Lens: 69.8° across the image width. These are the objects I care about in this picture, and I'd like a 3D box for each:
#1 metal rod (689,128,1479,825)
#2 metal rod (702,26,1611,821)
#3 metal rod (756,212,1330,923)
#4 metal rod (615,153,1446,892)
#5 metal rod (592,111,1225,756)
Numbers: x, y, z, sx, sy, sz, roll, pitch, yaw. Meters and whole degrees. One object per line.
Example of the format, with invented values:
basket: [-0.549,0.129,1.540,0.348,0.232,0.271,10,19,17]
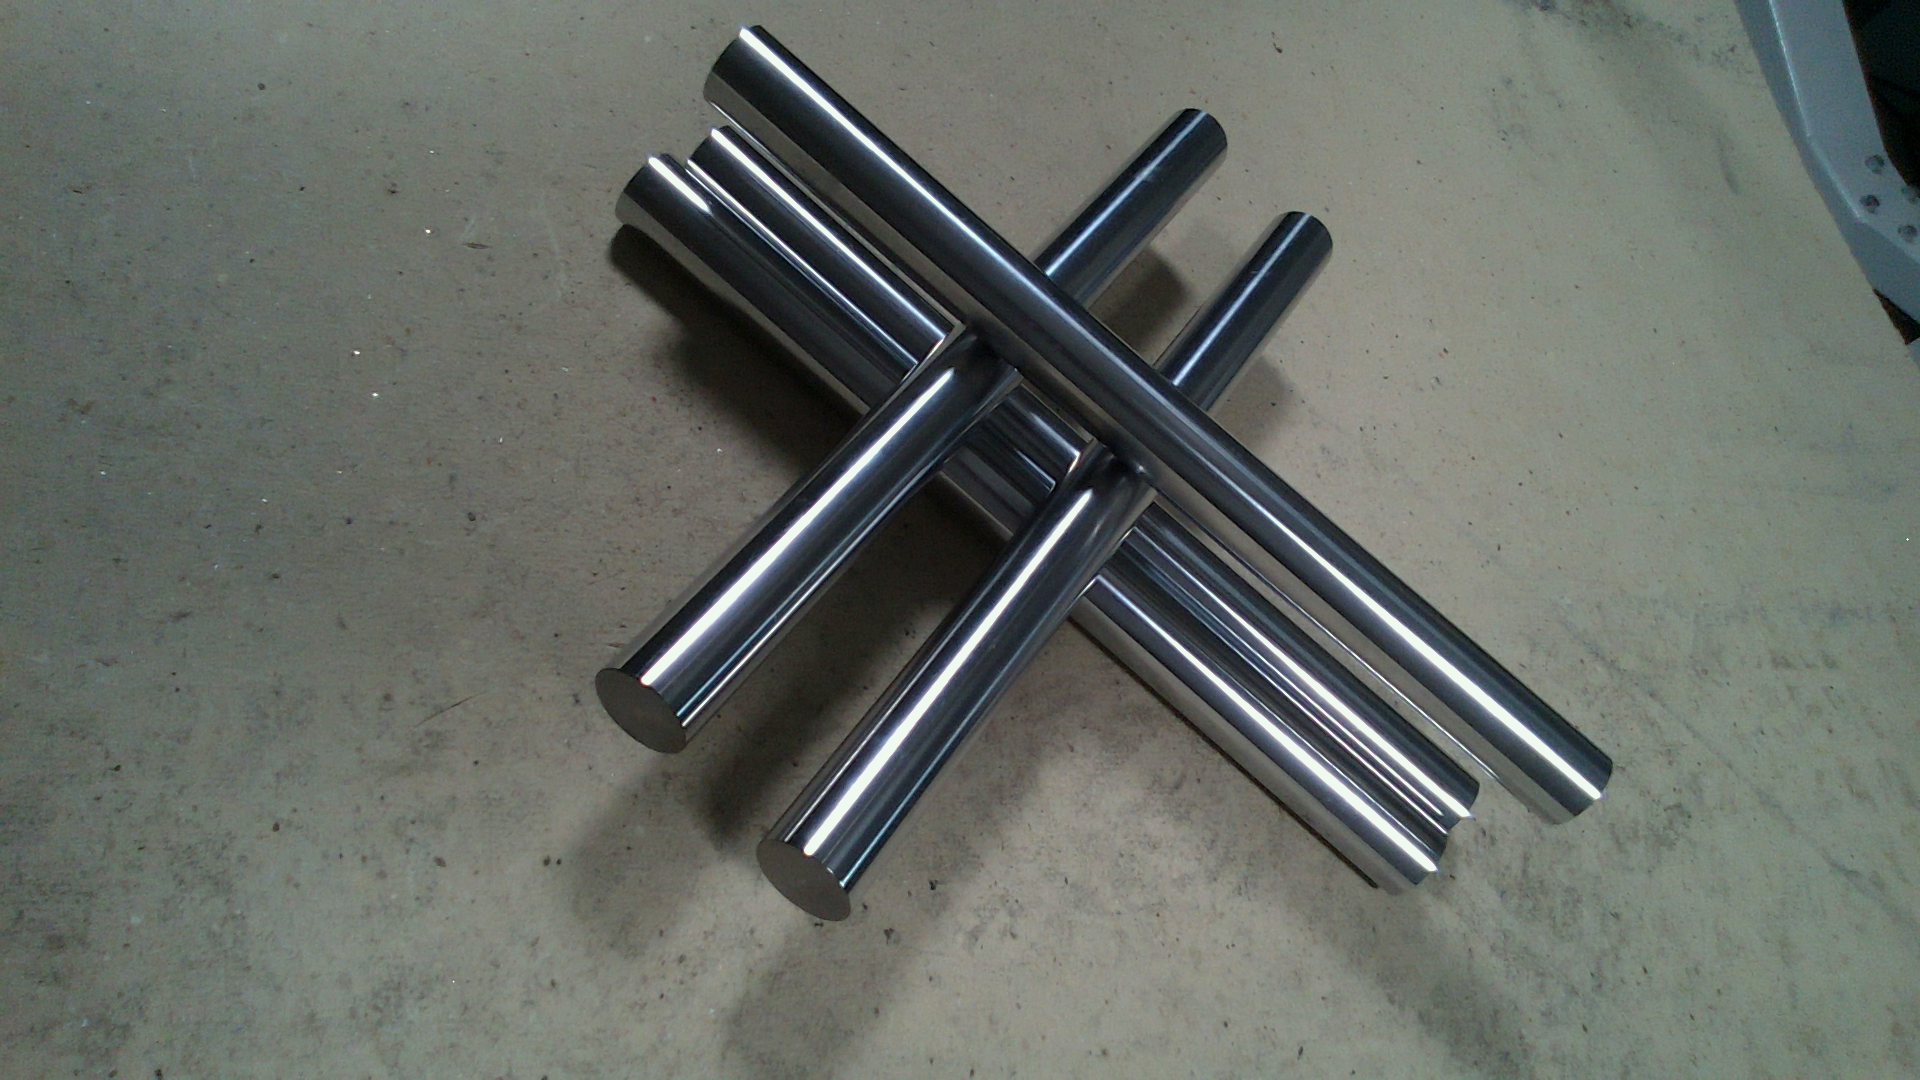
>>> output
metal rod: [0.036,-0.018,0.420,0.300,0.025,0.025,41,51,0]
metal rod: [0.053,-0.031,0.372,0.300,0.025,0.025,40,51,-1]
metal rod: [0.042,-0.015,0.390,0.025,0.025,0.301,41,51,0]
metal rod: [0.021,-0.005,0.404,0.300,0.025,0.025,41,51,0]
metal rod: [0.006,-0.051,0.392,0.025,0.025,0.301,41,51,0]
